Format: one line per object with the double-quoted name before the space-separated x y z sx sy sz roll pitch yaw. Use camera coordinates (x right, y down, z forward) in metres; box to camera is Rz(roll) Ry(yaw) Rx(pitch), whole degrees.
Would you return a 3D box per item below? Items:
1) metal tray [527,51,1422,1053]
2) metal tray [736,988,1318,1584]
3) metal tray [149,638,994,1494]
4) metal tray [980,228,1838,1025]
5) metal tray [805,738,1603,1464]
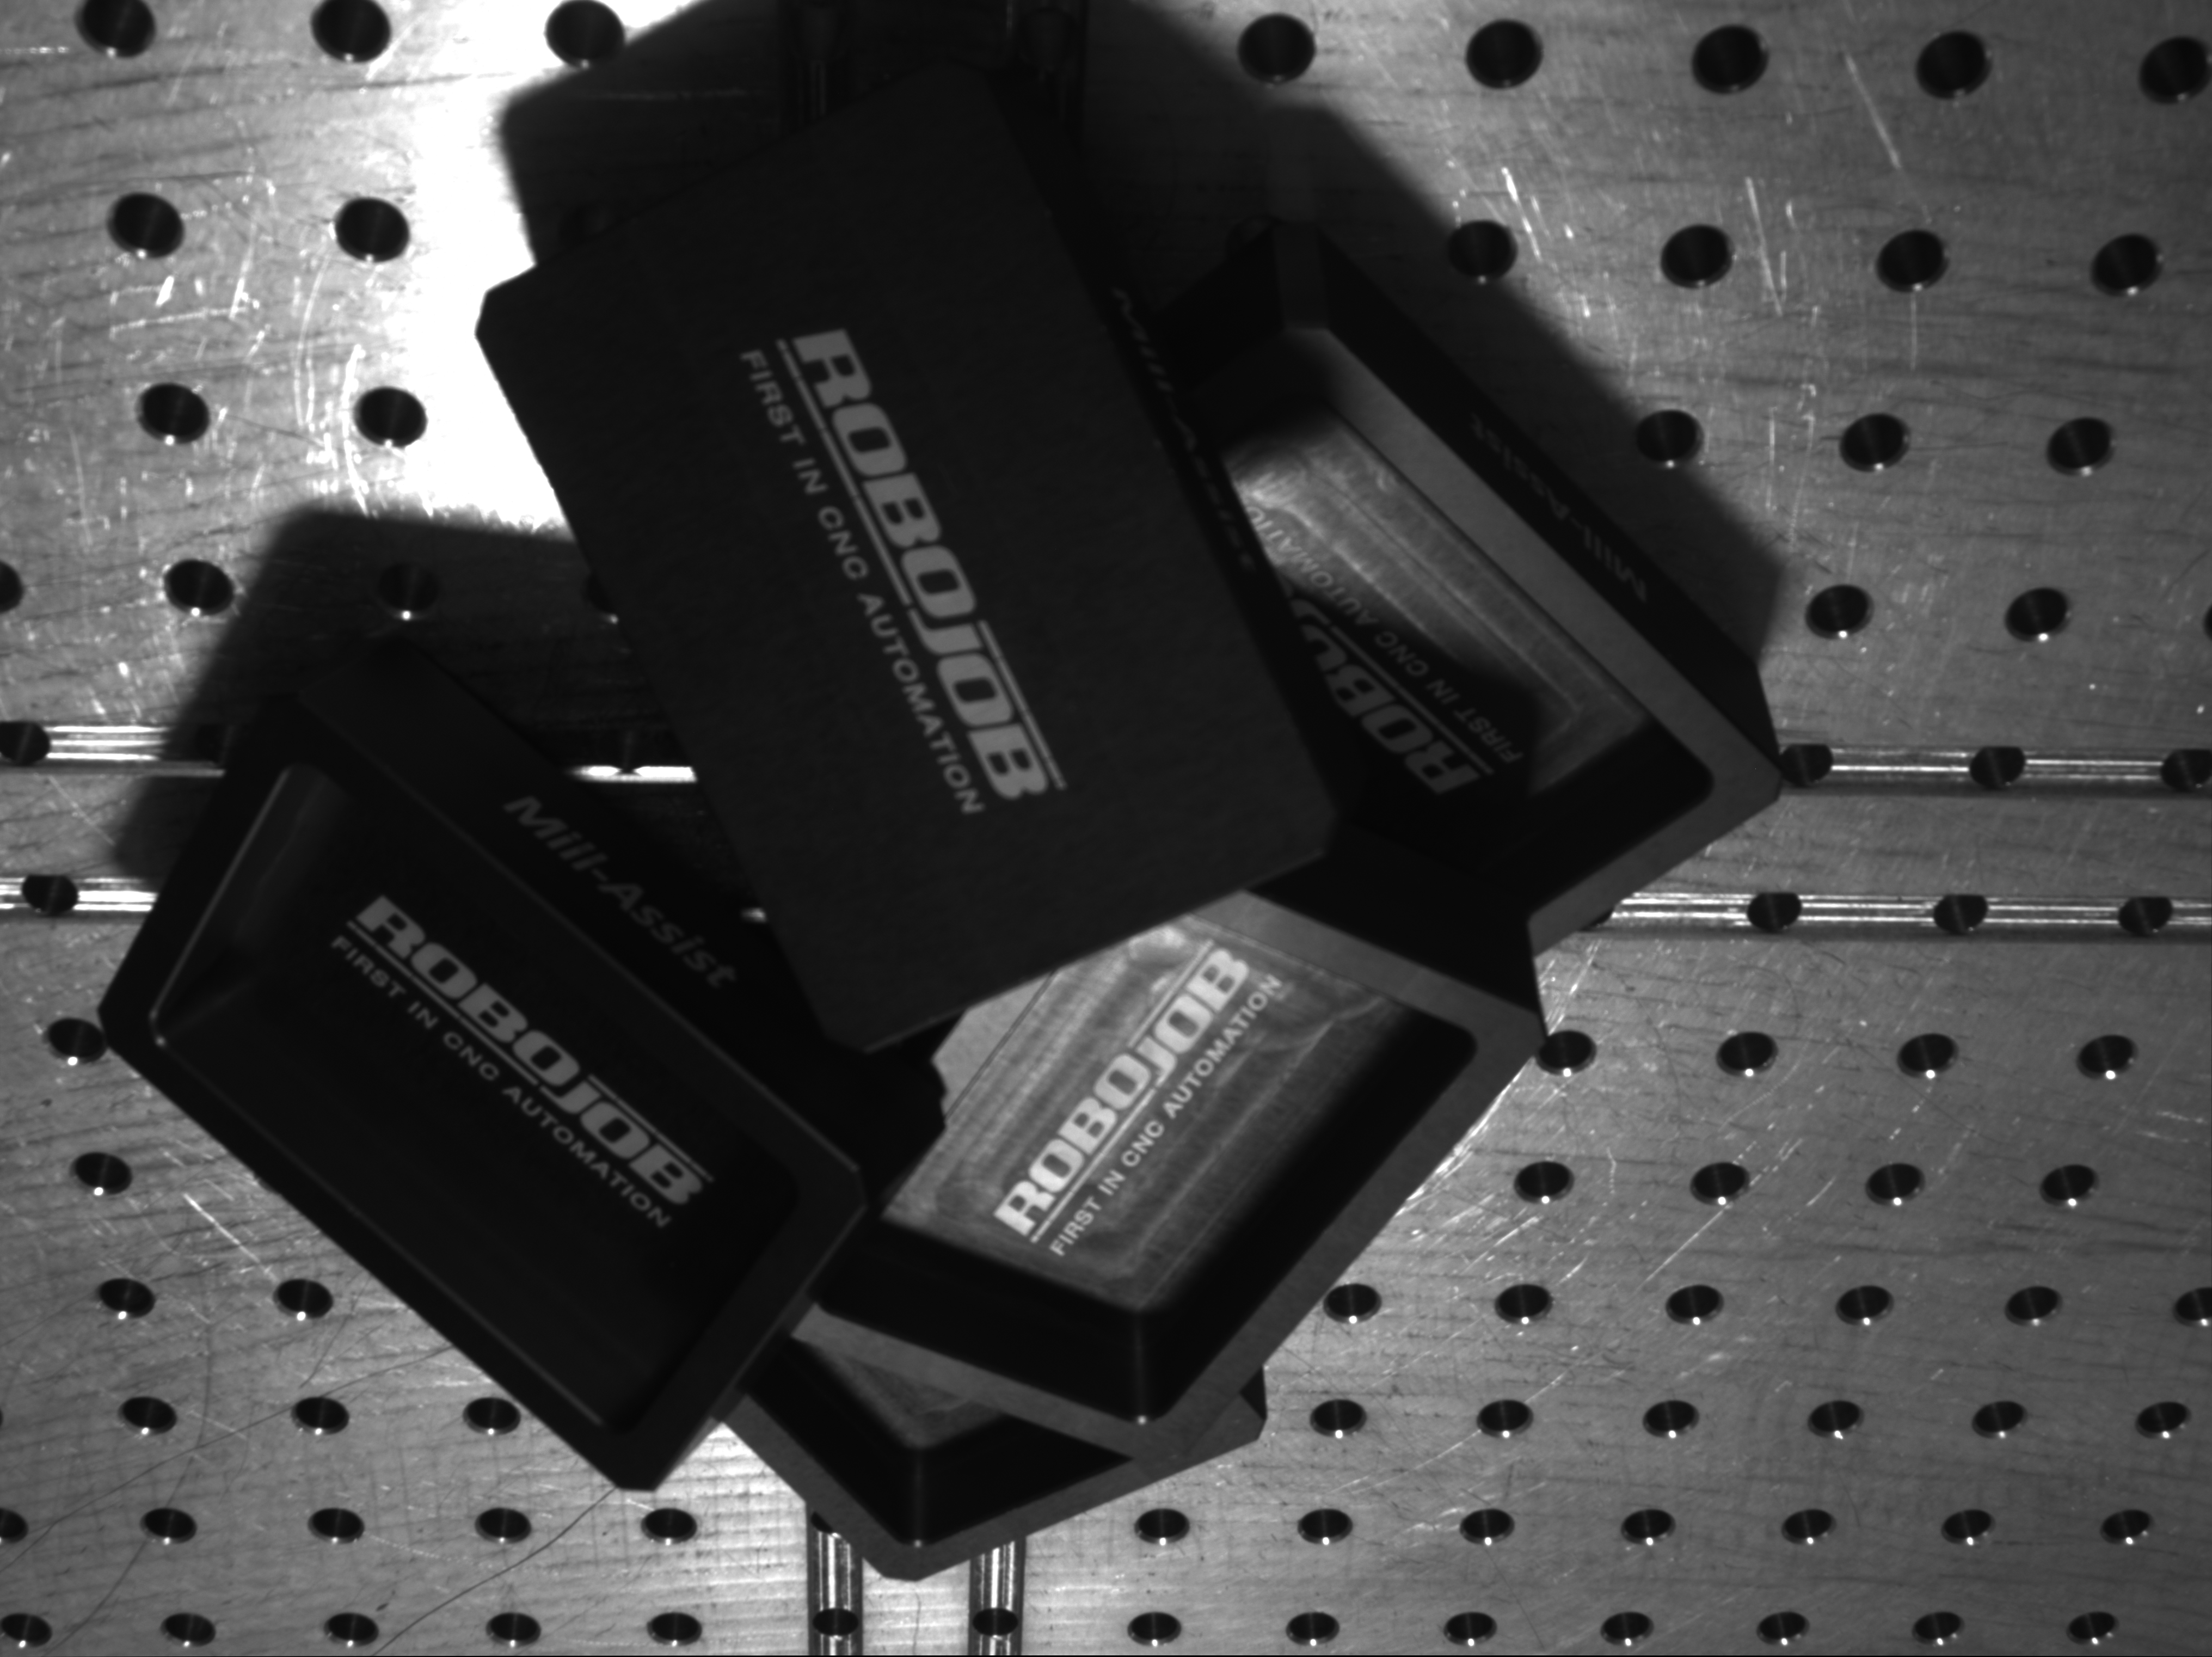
"metal tray" -0.019 -0.042 0.563 0.090 0.030 0.130 -24 97 17
"metal tray" -0.029 0.087 0.709 0.090 0.030 0.130 -26 126 19
"metal tray" -0.094 0.041 0.630 0.130 0.030 0.090 40 123 6
"metal tray" 0.049 -0.028 0.615 0.090 0.030 0.130 -35 123 25
"metal tray" 0.014 0.051 0.642 0.090 0.030 0.130 23 126 -20
